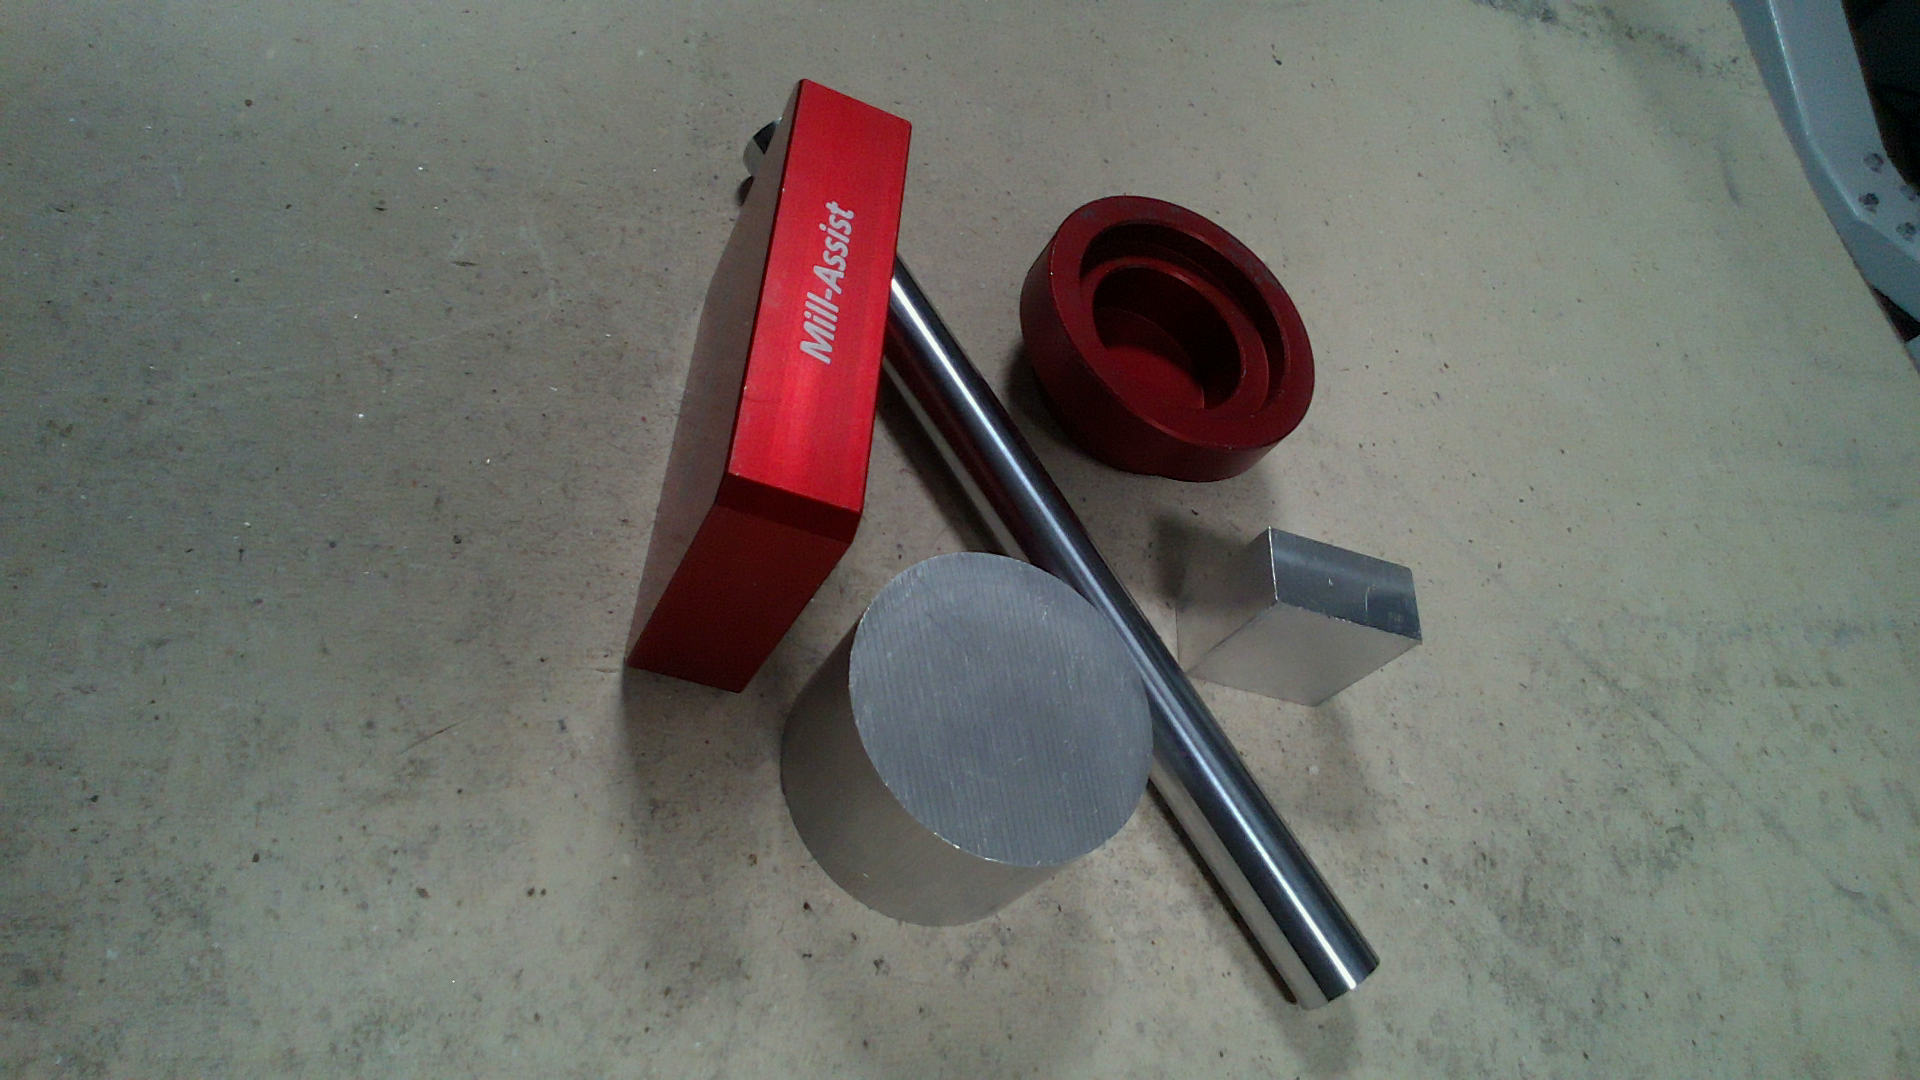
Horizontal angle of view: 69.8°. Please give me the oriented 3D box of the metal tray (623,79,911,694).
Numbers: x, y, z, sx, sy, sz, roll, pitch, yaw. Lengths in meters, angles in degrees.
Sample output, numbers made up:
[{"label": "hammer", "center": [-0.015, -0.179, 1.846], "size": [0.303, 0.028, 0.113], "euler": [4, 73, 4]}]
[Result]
[{"label": "metal tray", "center": [-0.048, -0.038, 0.346], "size": [0.030, 0.090, 0.130], "euler": [17, 55, -18]}]

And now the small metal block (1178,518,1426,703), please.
[{"label": "small metal block", "center": [0.101, 0.023, 0.410], "size": [0.050, 0.050, 0.025], "euler": [15, 55, -19]}]

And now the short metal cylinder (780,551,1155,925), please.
[{"label": "short metal cylinder", "center": [0.001, 0.050, 0.344], "size": [0.080, 0.050, 0.080], "euler": [14, 56, -21]}]

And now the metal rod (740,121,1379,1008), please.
[{"label": "metal rod", "center": [0.022, -0.003, 0.404], "size": [0.025, 0.025, 0.300], "euler": [-24, 75, -37]}]

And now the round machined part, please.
[{"label": "round machined part", "center": [0.063, -0.061, 0.450], "size": [0.098, 0.042, 0.098], "euler": [14, 56, -21]}]
